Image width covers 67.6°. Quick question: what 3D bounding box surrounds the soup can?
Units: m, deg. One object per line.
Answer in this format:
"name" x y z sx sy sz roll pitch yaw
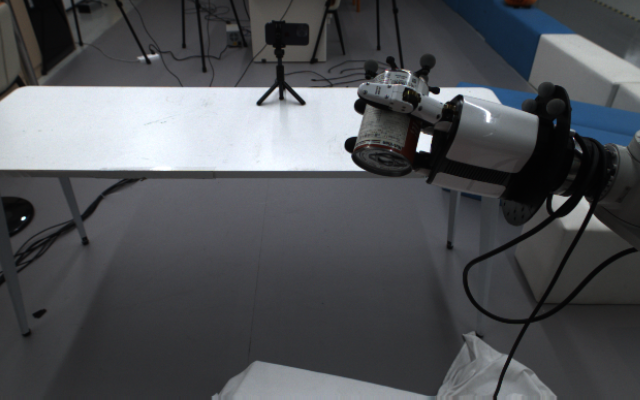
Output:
"soup can" 0.082 -0.086 0.545 0.067 0.067 0.101 11 72 13
